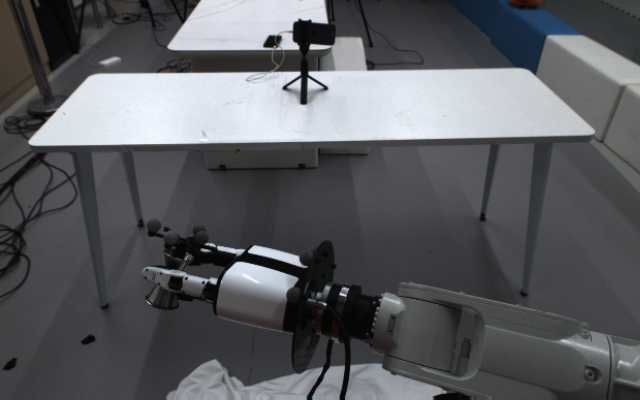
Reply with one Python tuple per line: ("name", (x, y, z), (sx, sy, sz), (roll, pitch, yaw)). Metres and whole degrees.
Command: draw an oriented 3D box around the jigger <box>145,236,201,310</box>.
("jigger", (-0.190, 0.099, 0.614), (0.043, 0.071, 0.043), (21, 6, -2))
